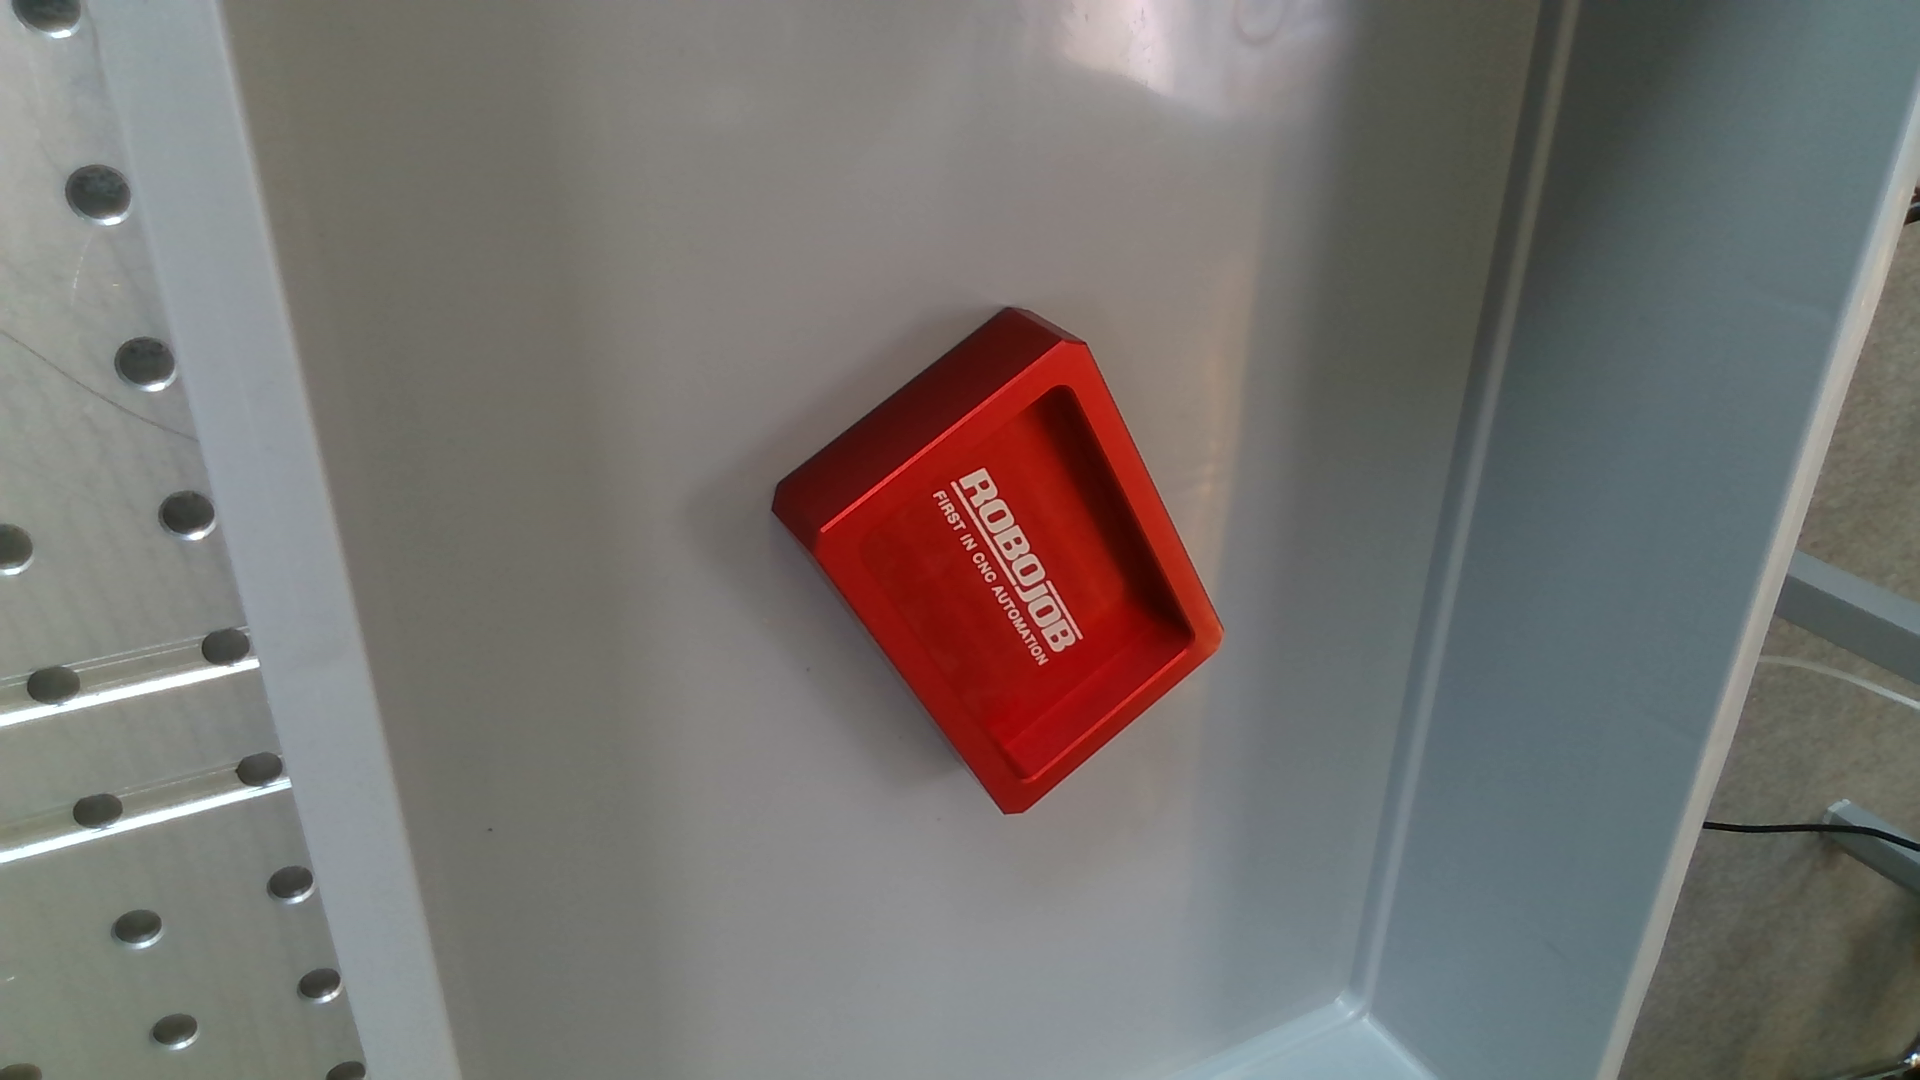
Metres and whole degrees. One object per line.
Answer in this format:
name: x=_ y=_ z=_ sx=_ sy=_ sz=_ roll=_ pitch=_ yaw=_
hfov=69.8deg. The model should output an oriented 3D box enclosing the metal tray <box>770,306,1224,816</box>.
metal tray: x=0.016 y=0.010 z=0.398 sx=0.090 sy=0.030 sz=0.130 roll=-39 pitch=129 yaw=-8
